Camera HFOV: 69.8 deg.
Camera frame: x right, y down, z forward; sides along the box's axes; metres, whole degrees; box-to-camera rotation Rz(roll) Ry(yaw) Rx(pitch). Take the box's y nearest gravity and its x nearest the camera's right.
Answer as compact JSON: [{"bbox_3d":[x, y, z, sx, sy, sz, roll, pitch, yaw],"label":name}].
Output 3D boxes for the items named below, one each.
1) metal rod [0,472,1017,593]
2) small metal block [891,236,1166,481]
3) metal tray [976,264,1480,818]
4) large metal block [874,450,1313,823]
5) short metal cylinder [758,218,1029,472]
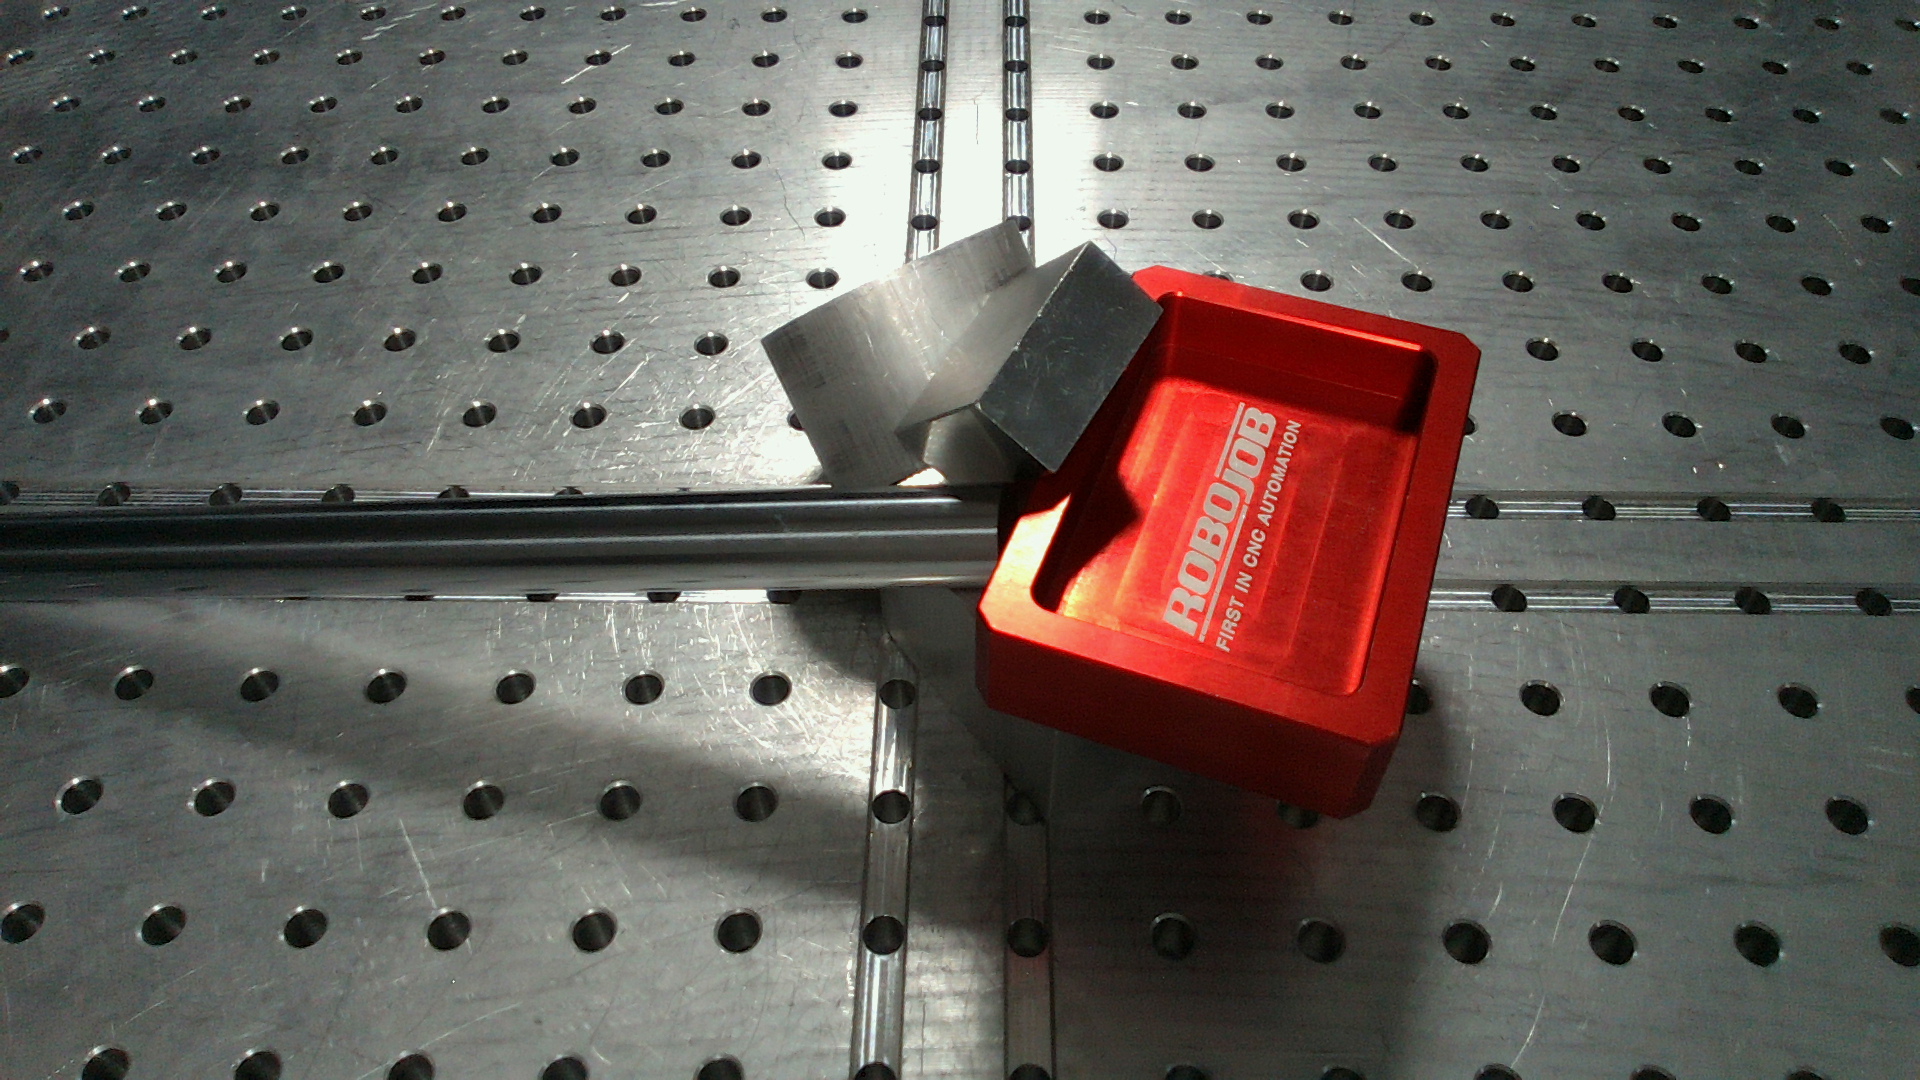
[{"bbox_3d":[-0.134,0.000,0.356,0.299,0.025,0.025,-1,49,14],"label":"metal rod"},{"bbox_3d":[0.016,-0.041,0.334,0.025,0.050,0.050,39,72,-17],"label":"small metal block"},{"bbox_3d":[0.067,-0.007,0.328,0.090,0.030,0.130,16,52,13],"label":"metal tray"},{"bbox_3d":[0.032,0.013,0.366,0.080,0.050,0.080,-28,55,-22],"label":"large metal block"},{"bbox_3d":[-0.010,-0.052,0.394,0.080,0.080,0.050,-28,98,-21],"label":"short metal cylinder"}]
